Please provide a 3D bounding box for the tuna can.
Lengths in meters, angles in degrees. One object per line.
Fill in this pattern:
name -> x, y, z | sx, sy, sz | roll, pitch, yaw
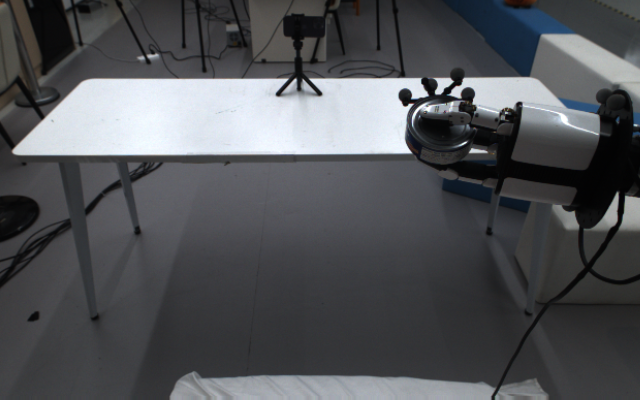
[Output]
tuna can -> 0.149, -0.087, 0.596 | 0.085, 0.034, 0.085 | -2, 58, 3
